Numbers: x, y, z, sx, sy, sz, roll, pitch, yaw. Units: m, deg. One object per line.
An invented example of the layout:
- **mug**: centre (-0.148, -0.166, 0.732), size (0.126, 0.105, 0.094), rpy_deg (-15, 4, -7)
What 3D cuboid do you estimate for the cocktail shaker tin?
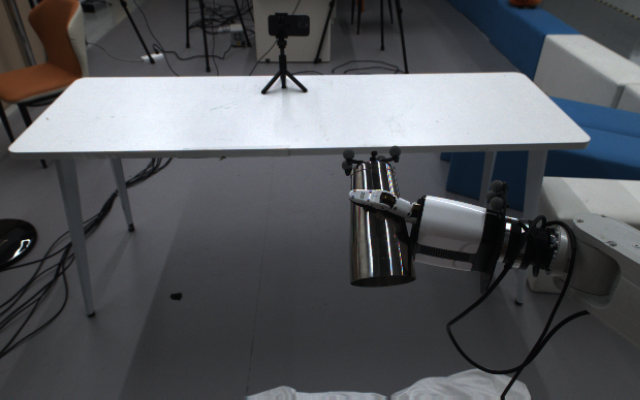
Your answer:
- **cocktail shaker tin**: centre (0.083, 0.034, 0.702), size (0.093, 0.093, 0.170), rpy_deg (-2, 71, -6)
